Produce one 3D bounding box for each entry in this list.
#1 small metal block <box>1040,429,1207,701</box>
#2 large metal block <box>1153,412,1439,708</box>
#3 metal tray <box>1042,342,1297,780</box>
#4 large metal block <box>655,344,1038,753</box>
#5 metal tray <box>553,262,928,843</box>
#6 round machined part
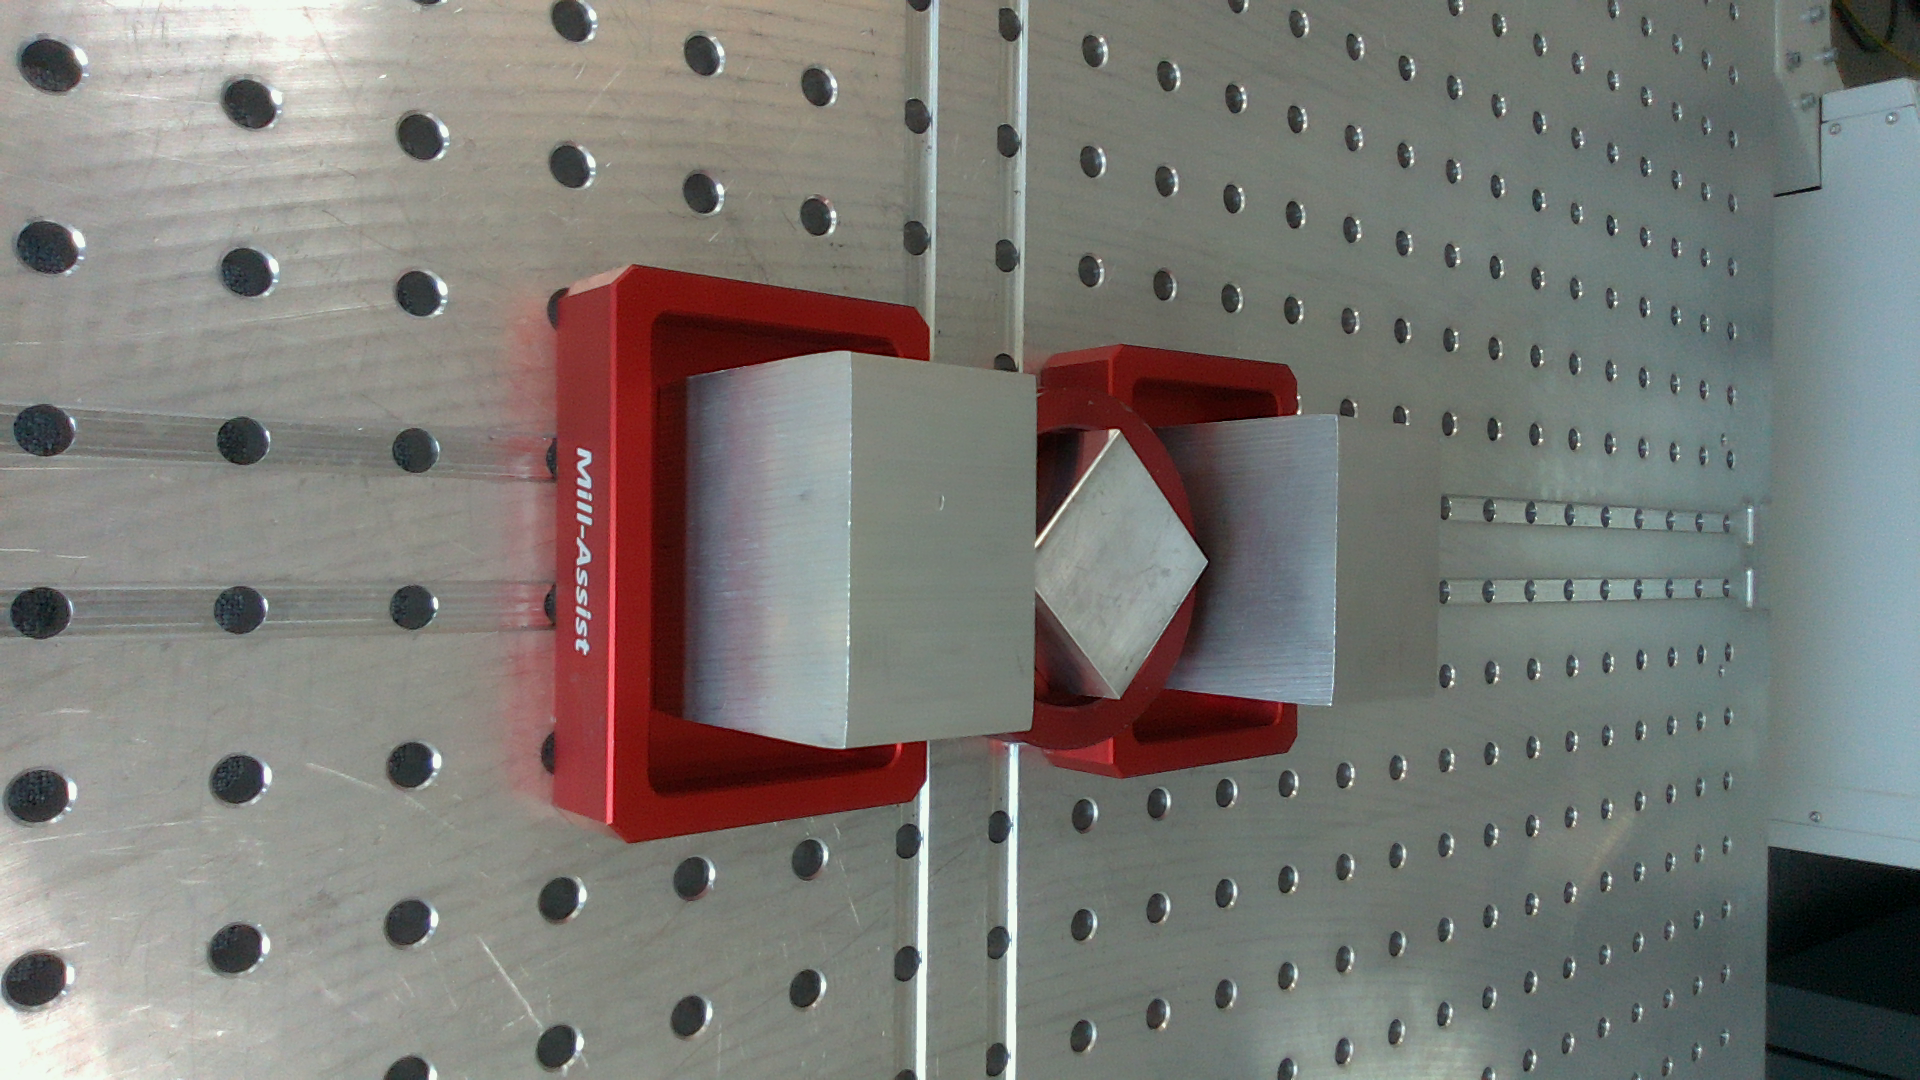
[{"bbox_3d":[0.033,0.006,0.367,0.050,0.025,0.050,52,60,-27],"label":"small metal block"},{"bbox_3d":[0.095,0.006,0.418,0.050,0.080,0.080,2,89,-40],"label":"large metal block"},{"bbox_3d":[0.069,0.006,0.445,0.090,0.030,0.130,0,90,-40],"label":"metal tray"},{"bbox_3d":[-0.028,0.002,0.316,0.050,0.080,0.080,1,89,-40],"label":"large metal block"},{"bbox_3d":[-0.052,0.003,0.344,0.090,0.030,0.130,1,89,-40],"label":"metal tray"},{"bbox_3d":[0.018,0.007,0.384,0.098,0.042,0.098,0,90,-40],"label":"round machined part"}]
